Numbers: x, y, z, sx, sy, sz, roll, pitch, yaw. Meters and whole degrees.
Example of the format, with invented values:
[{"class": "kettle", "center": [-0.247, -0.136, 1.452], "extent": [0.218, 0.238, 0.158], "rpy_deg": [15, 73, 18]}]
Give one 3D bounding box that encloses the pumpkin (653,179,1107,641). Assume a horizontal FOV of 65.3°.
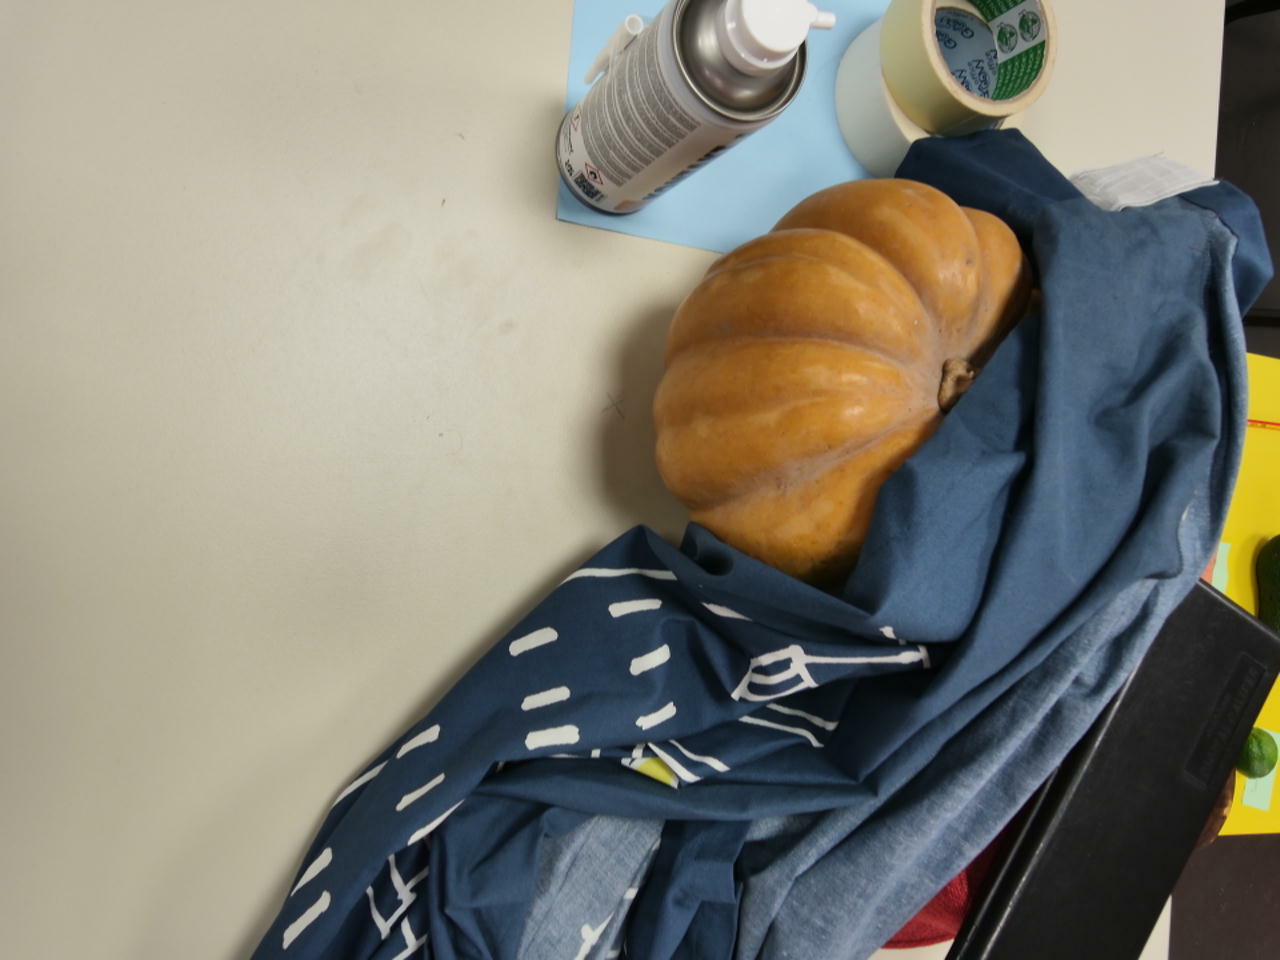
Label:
[{"class": "pumpkin", "center": [0.115, -0.029, 0.509], "extent": [0.230, 0.194, 0.230], "rpy_deg": [0, 91, -22]}]
